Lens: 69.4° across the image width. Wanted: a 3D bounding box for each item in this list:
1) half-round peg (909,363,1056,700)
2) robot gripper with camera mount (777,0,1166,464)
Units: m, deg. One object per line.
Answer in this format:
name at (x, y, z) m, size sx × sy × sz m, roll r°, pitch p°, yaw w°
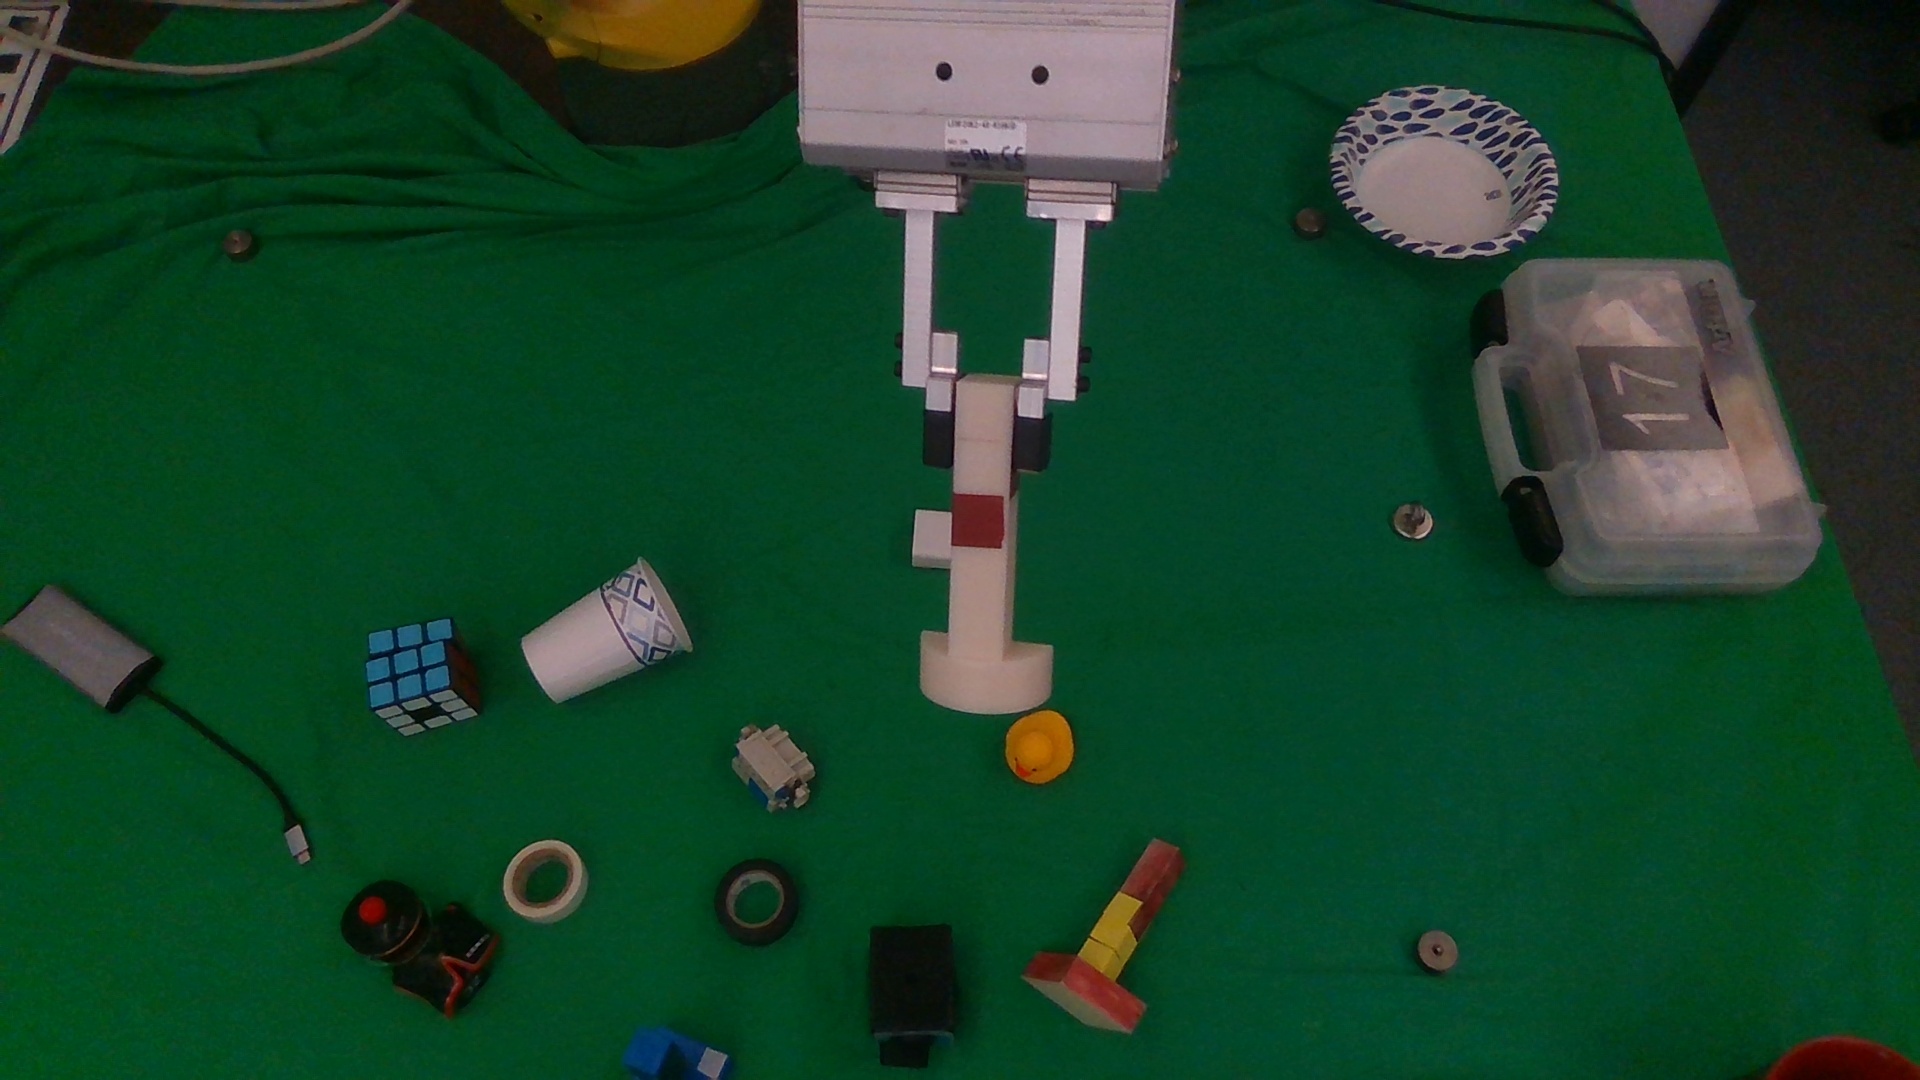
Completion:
half-round peg at (0.011, -0.003, 0.499) m, size 0.054 × 0.031 × 0.122 m, roll 4°, pitch 105°, yaw 3°
robot gripper with camera mount at (0.023, -0.128, 0.523) m, size 0.119 × 0.158 × 0.193 m, roll 5°, pitch 19°, yaw 14°
